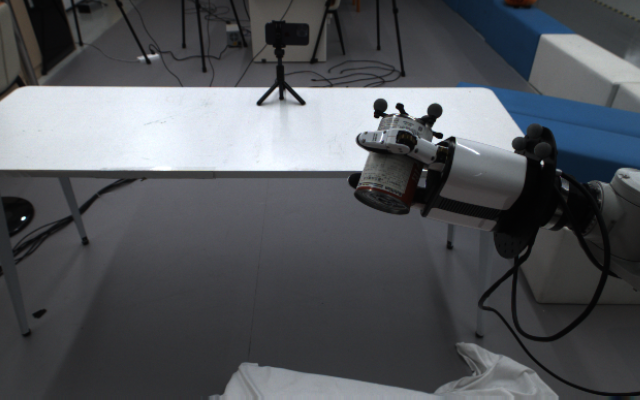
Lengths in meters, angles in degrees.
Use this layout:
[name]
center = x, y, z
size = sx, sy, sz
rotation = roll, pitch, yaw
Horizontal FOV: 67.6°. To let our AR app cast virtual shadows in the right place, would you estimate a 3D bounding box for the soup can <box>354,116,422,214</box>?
[soup can]
center = 0.090, -0.042, 0.576
size = 0.067, 0.067, 0.101
rotation = 15, 75, 18
